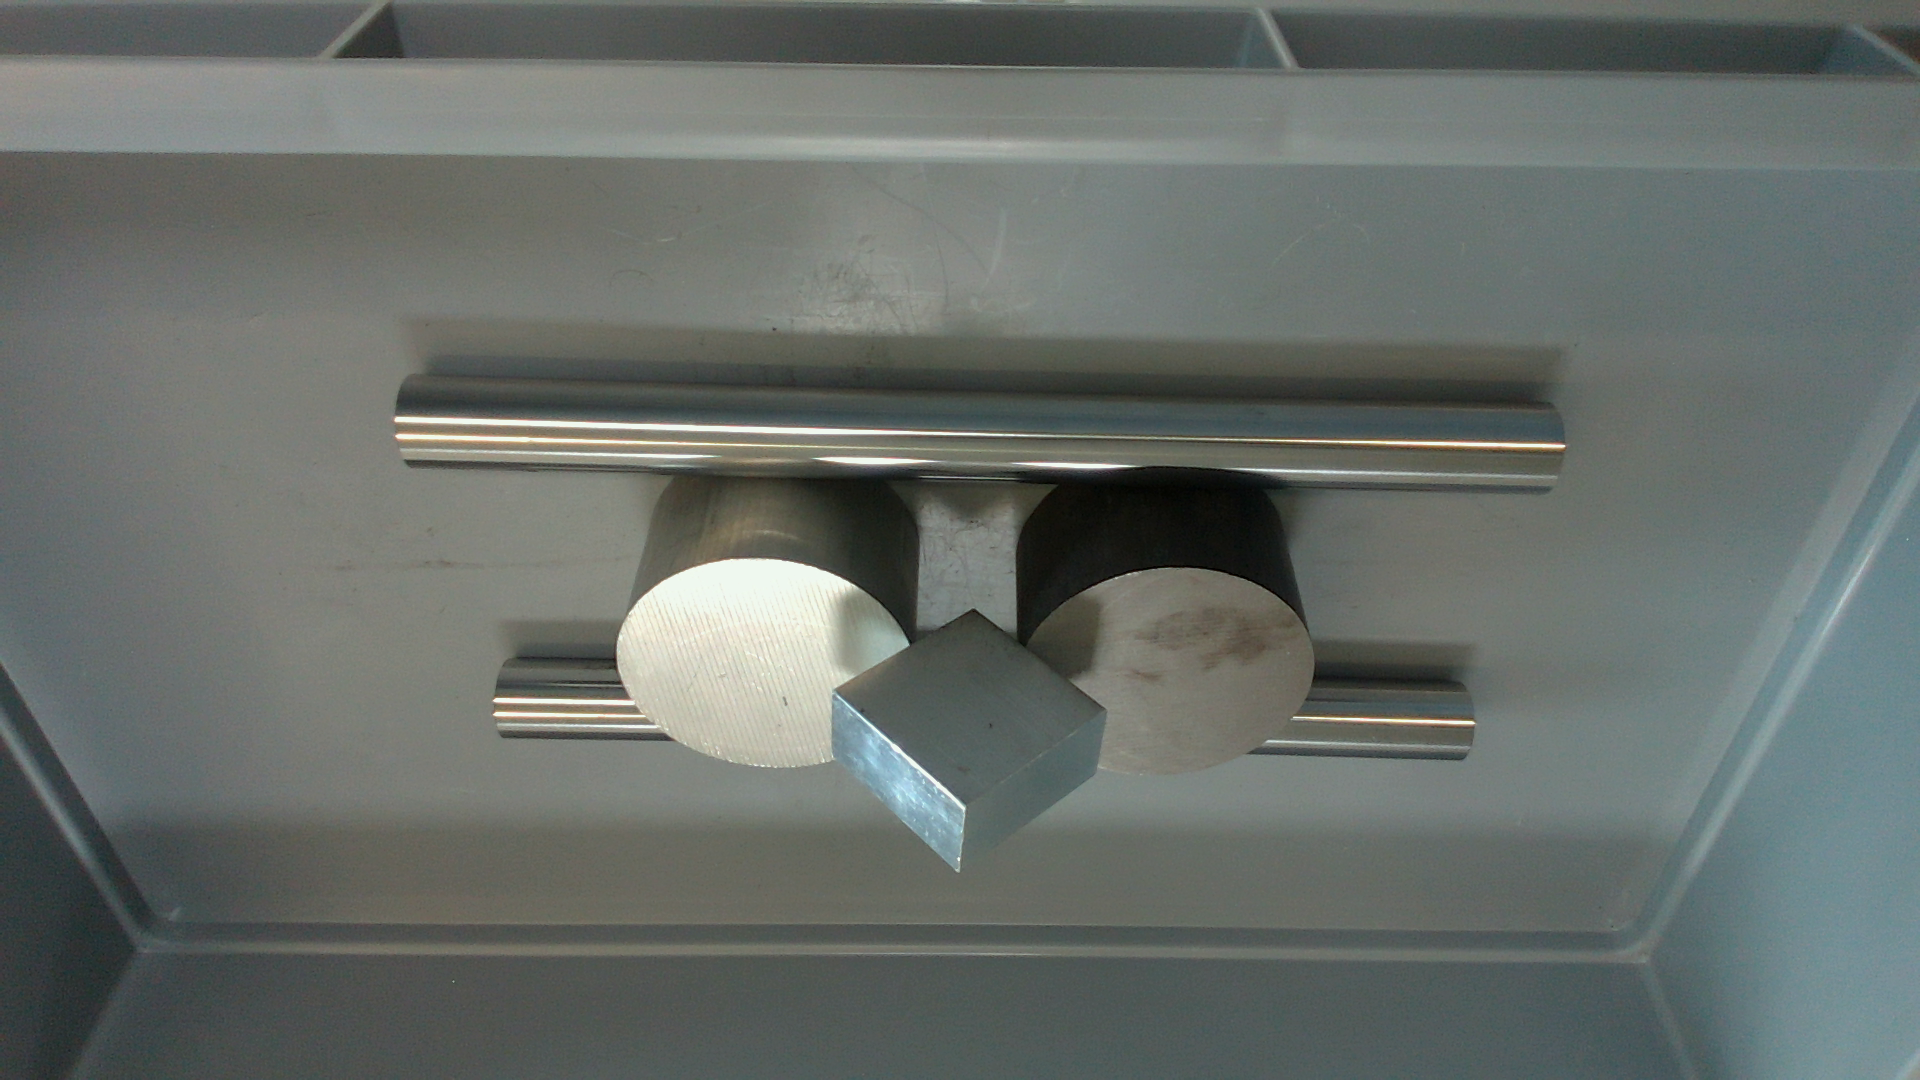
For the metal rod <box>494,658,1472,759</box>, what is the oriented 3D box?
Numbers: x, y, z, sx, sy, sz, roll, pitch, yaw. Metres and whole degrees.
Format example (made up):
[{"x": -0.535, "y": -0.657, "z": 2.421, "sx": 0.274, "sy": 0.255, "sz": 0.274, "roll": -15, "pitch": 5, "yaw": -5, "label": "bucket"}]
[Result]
[{"x": 0.008, "y": 0.053, "z": 0.434, "sx": 0.300, "sy": 0.025, "sz": 0.025, "roll": 2, "pitch": 130, "yaw": -2, "label": "metal rod"}]

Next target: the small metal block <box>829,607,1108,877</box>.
[{"x": 0.002, "y": 0.050, "z": 0.355, "sx": 0.050, "sy": 0.050, "sz": 0.025, "roll": -29, "pitch": 139, "yaw": -34, "label": "small metal block"}]

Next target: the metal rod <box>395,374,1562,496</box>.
[{"x": 0.006, "y": -0.028, "z": 0.366, "sx": 0.300, "sy": 0.025, "sz": 0.025, "roll": 1, "pitch": 130, "yaw": -1, "label": "metal rod"}]

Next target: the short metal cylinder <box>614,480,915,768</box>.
[{"x": -0.052, "y": 0.019, "z": 0.389, "sx": 0.080, "sy": 0.050, "sz": 0.080, "roll": 0, "pitch": 130, "yaw": 0, "label": "short metal cylinder"}]

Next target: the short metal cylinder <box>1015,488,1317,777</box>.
[{"x": 0.056, "y": 0.022, "z": 0.392, "sx": 0.080, "sy": 0.050, "sz": 0.080, "roll": 0, "pitch": 130, "yaw": 0, "label": "short metal cylinder"}]
